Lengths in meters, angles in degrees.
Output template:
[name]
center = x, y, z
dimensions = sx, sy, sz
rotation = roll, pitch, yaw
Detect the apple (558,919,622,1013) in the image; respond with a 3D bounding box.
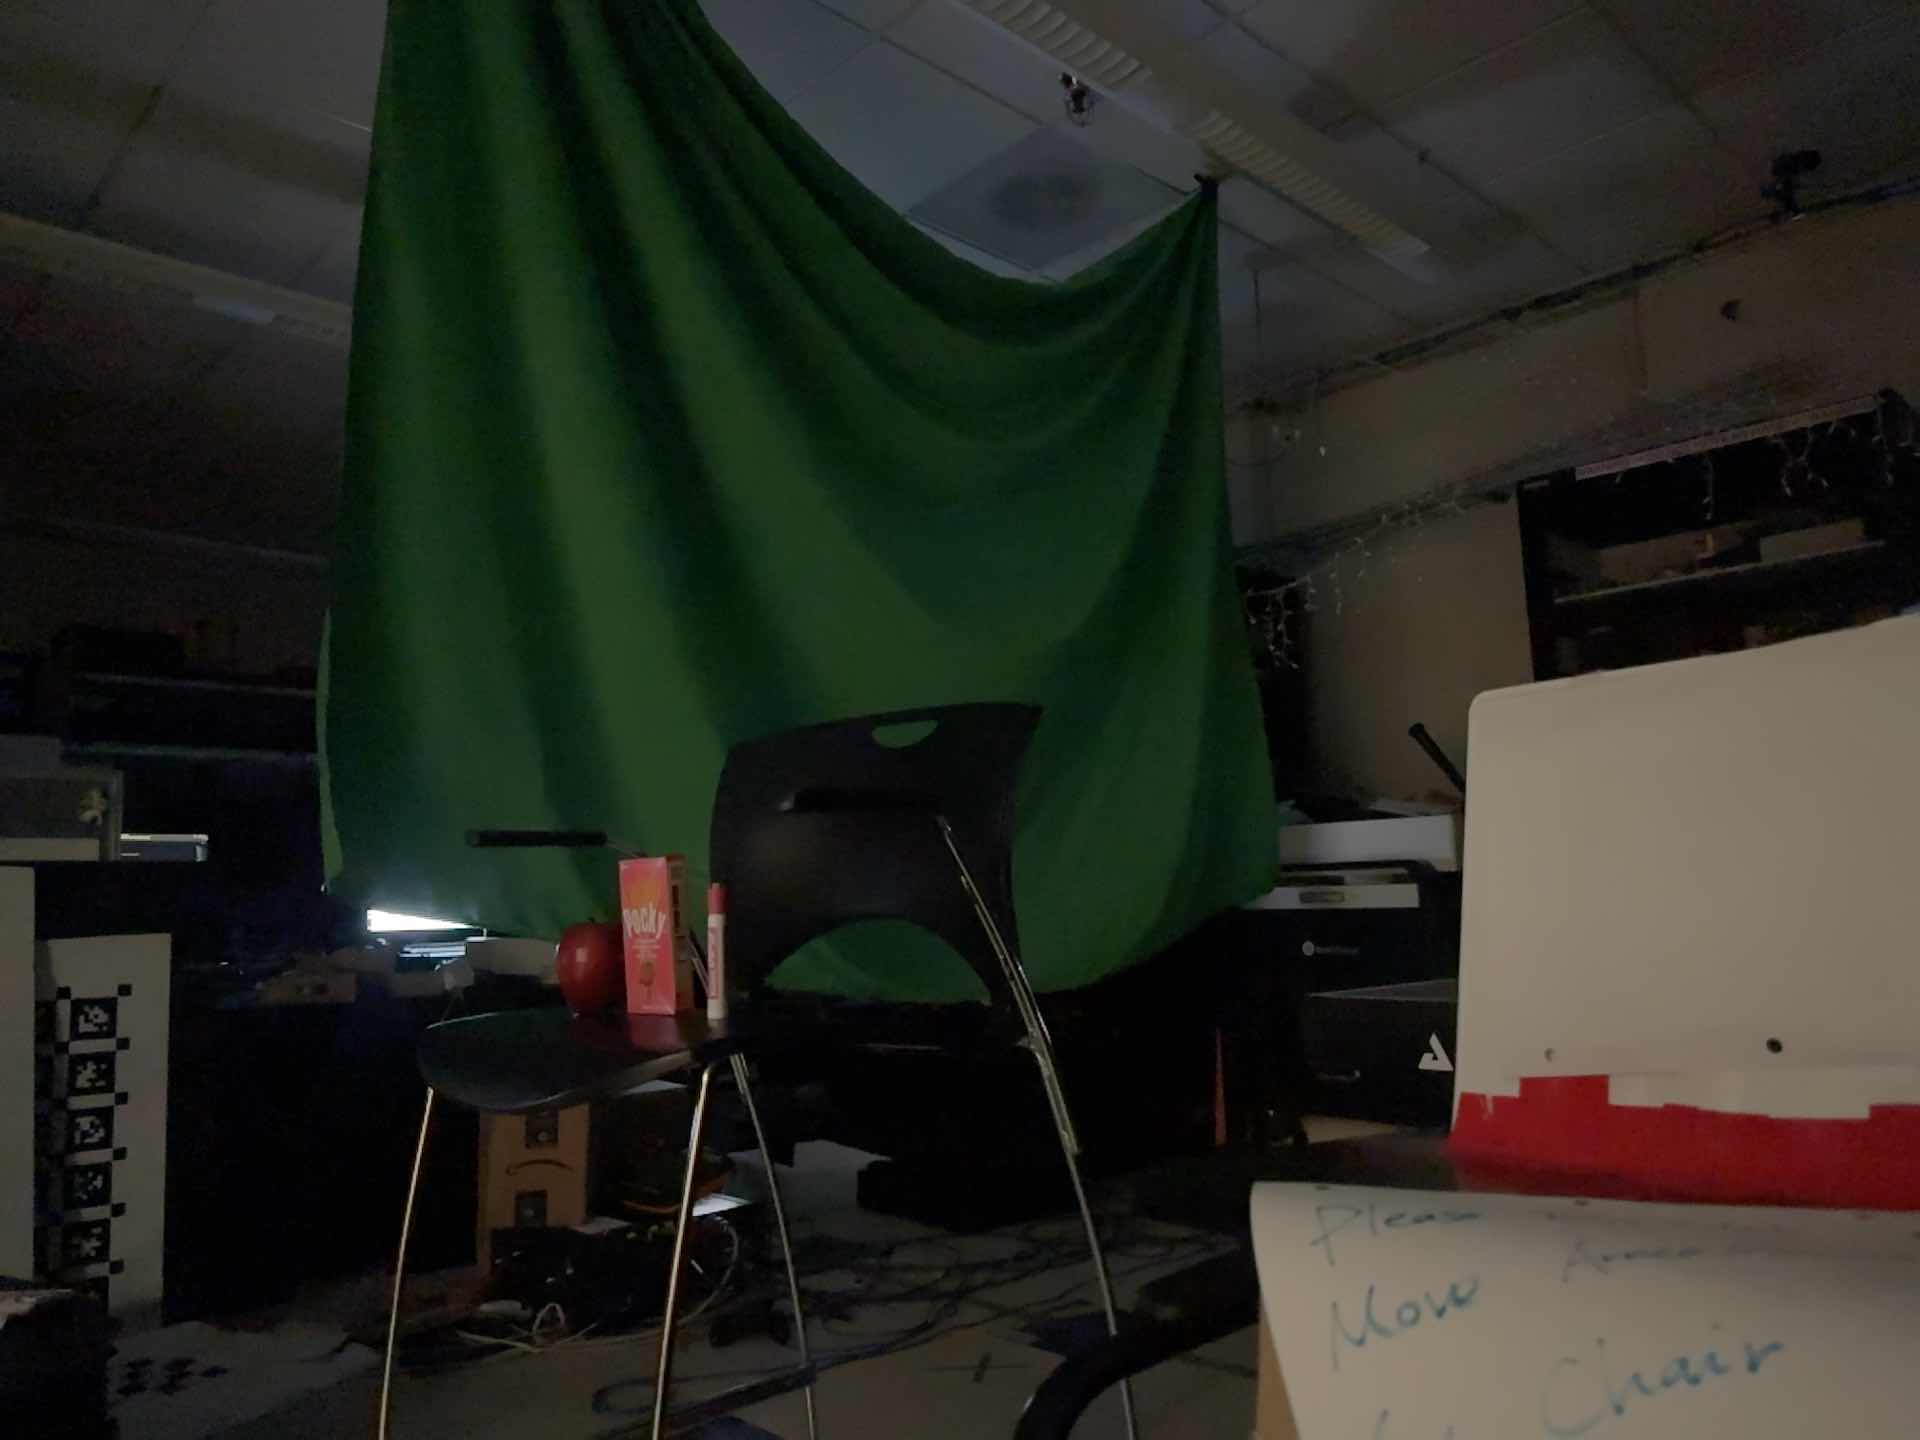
[apple]
center = -0.369, 0.250, 1.375
dimensions = 0.079, 0.093, 0.079
rotation = 2, -8, 0

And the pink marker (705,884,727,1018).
[pink marker]
center = -0.225, 0.212, 1.242
dimensions = 0.020, 0.121, 0.020
rotation = -1, -5, 0

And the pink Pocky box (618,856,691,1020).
[pink Pocky box]
center = -0.300, 0.211, 1.317
dimensions = 0.084, 0.155, 0.029
rotation = -6, -5, 44
